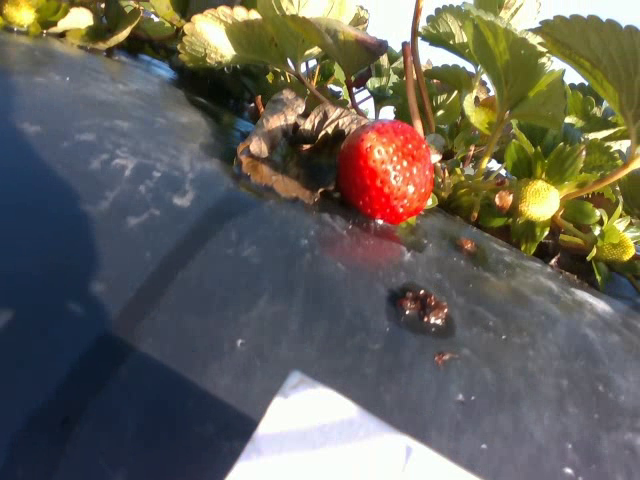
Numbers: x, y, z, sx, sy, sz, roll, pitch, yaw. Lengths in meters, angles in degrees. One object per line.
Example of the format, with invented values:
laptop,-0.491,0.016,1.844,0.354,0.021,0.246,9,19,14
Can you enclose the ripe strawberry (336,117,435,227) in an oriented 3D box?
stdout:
ripe strawberry,0.017,-0.023,0.185,0.047,0.038,0.054,47,15,21
